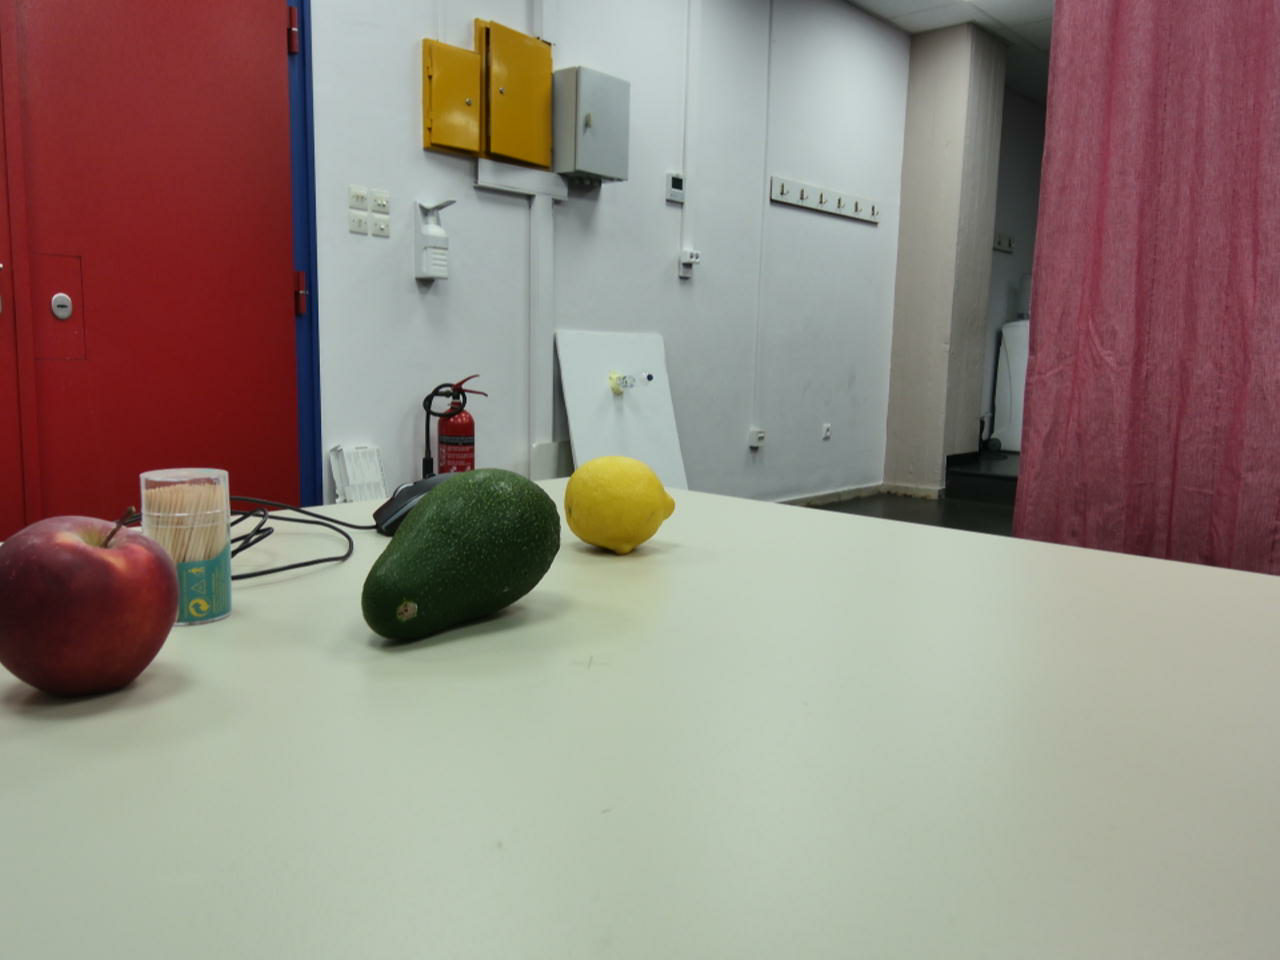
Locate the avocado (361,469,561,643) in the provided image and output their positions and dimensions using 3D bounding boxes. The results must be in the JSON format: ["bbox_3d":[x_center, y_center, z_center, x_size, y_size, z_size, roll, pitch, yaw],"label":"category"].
[{"bbox_3d":[-0.095,0.034,0.512,0.123,0.076,0.074,-4,8,-42],"label":"avocado"}]
